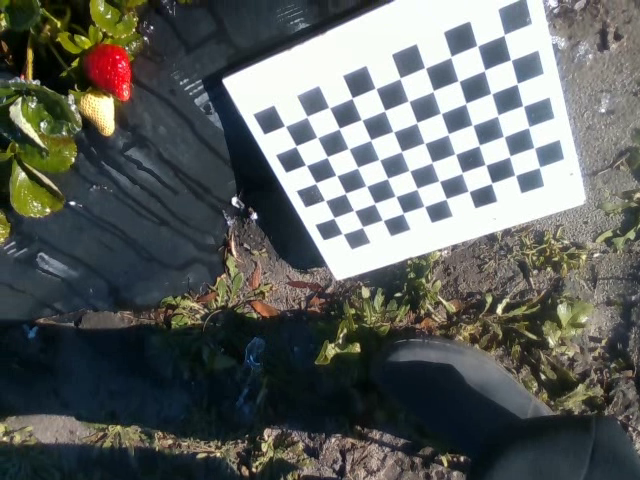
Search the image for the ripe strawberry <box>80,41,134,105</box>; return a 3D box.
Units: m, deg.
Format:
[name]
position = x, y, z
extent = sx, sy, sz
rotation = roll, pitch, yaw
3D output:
[ripe strawberry]
position = -0.187, -0.150, 0.542
extent = 0.042, 0.061, 0.046
rotation = -32, -12, 24
